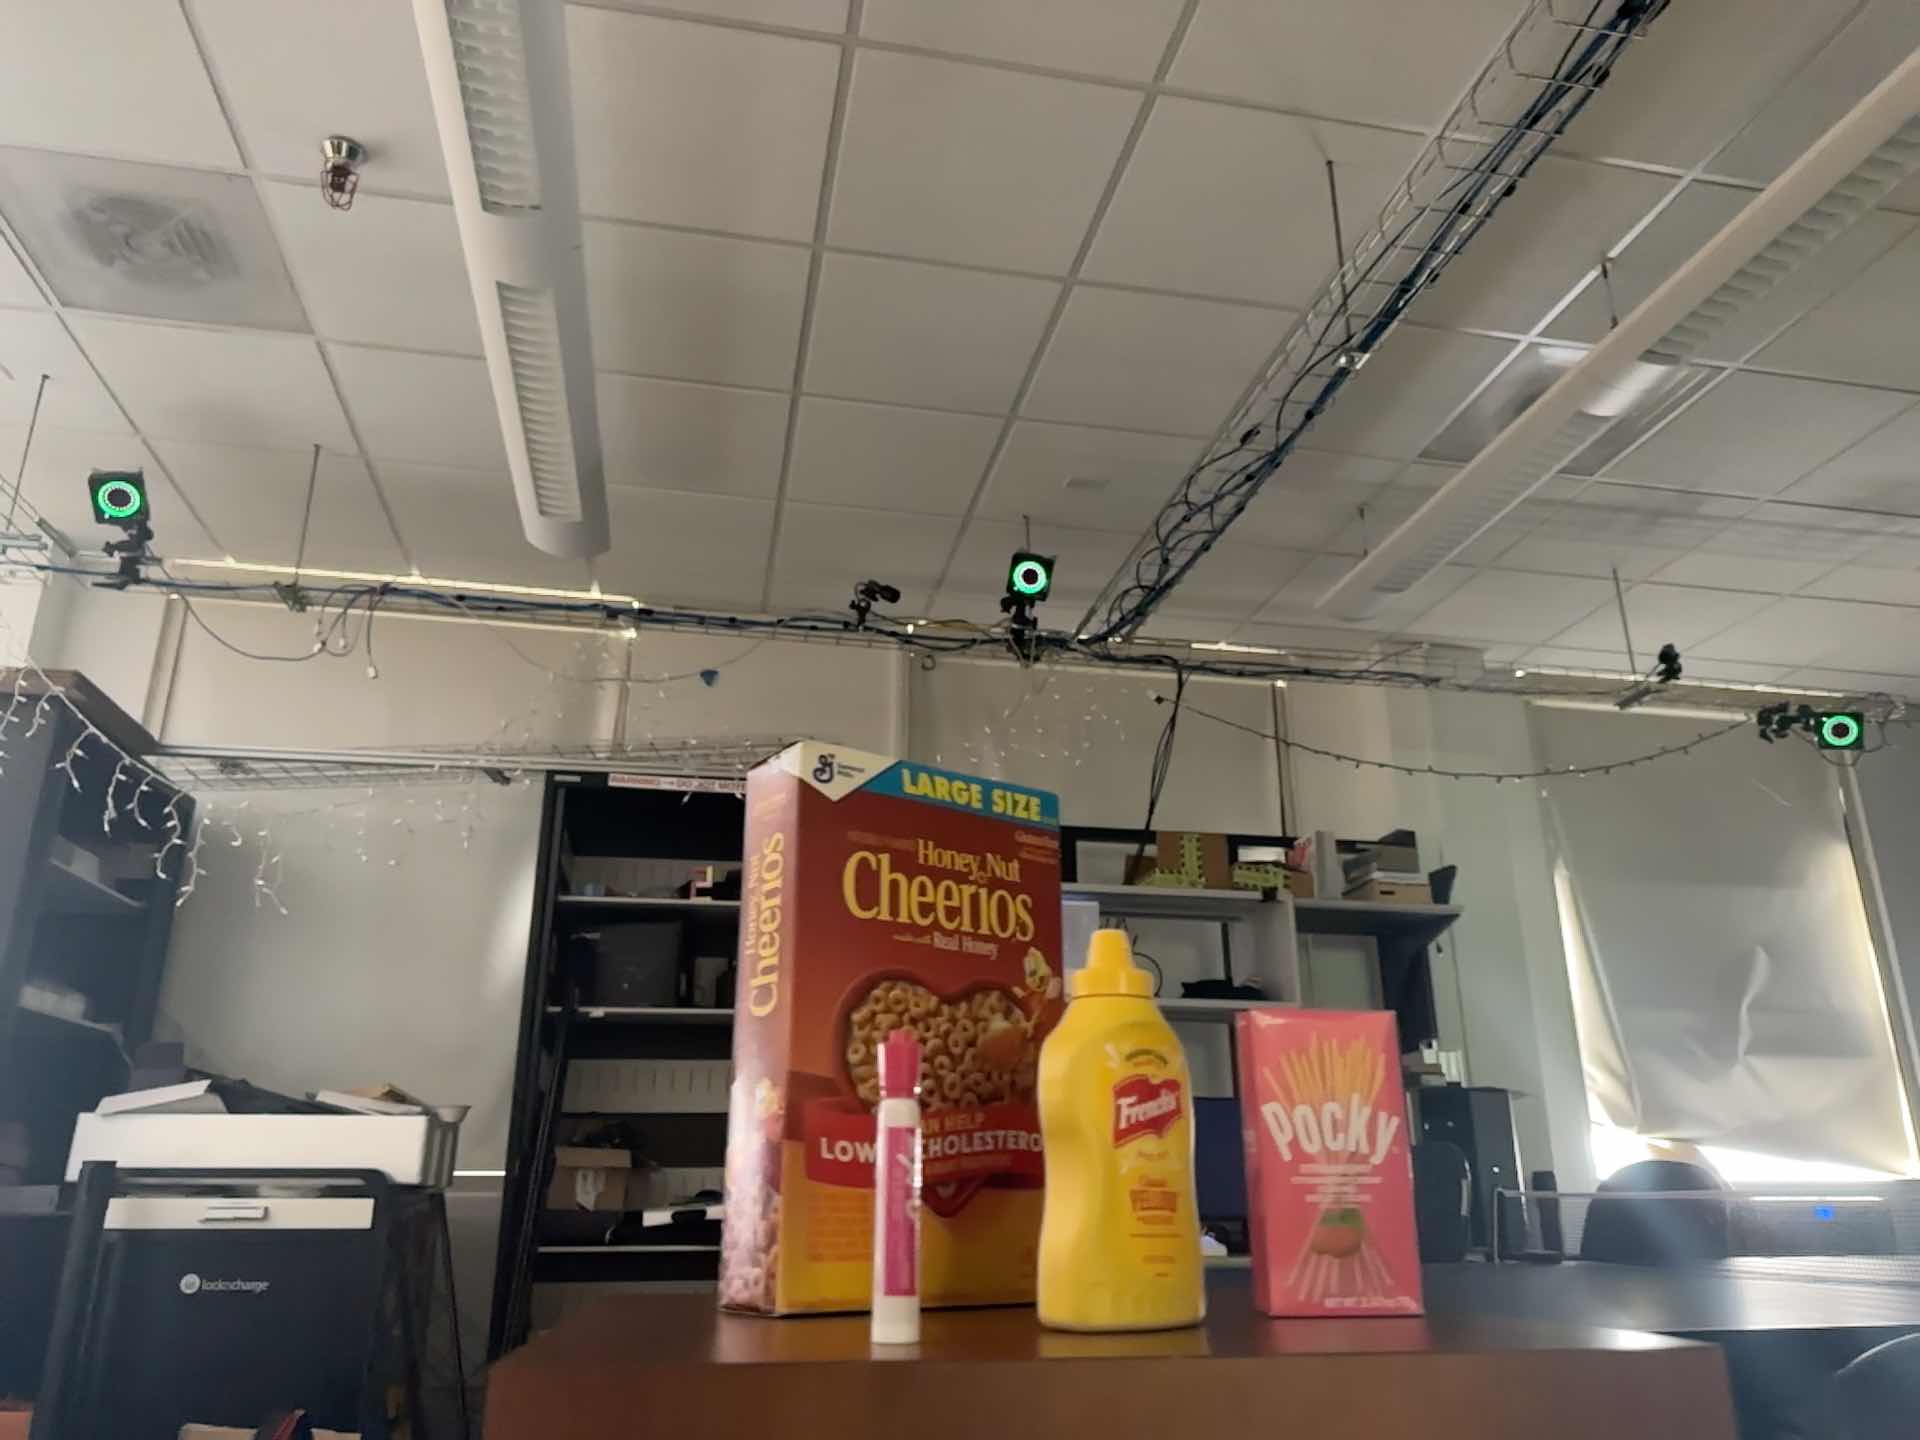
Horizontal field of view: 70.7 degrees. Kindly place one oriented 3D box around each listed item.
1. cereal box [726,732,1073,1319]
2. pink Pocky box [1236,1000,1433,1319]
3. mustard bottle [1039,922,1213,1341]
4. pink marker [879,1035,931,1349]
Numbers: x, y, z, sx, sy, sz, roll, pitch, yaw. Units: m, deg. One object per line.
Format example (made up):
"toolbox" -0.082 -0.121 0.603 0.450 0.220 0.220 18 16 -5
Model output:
"cereal box" -0.027 0.174 0.786 0.195 0.296 0.065 15 -23 -38
"pink Pocky box" 0.192 0.224 0.701 0.084 0.154 0.029 3 -18 -12
"mustard bottle" 0.075 0.187 0.635 0.092 0.184 0.054 11 -21 -34
"pink marker" -0.022 0.191 0.556 0.020 0.121 0.020 0 -19 0
